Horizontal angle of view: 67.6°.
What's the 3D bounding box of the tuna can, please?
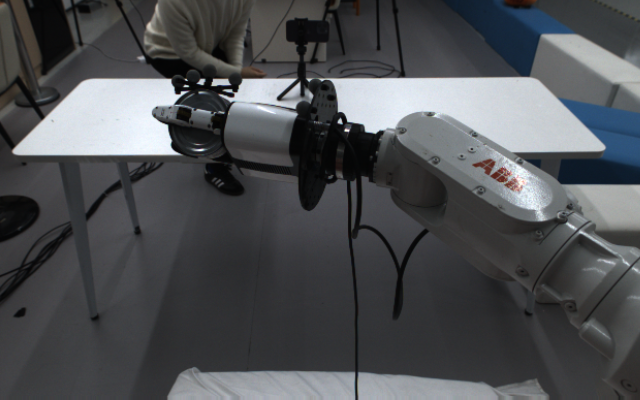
[{"bbox_3d":[-0.148,-0.096,0.624,0.085,0.085,0.034,11,-1,13],"label":"tuna can"}]
